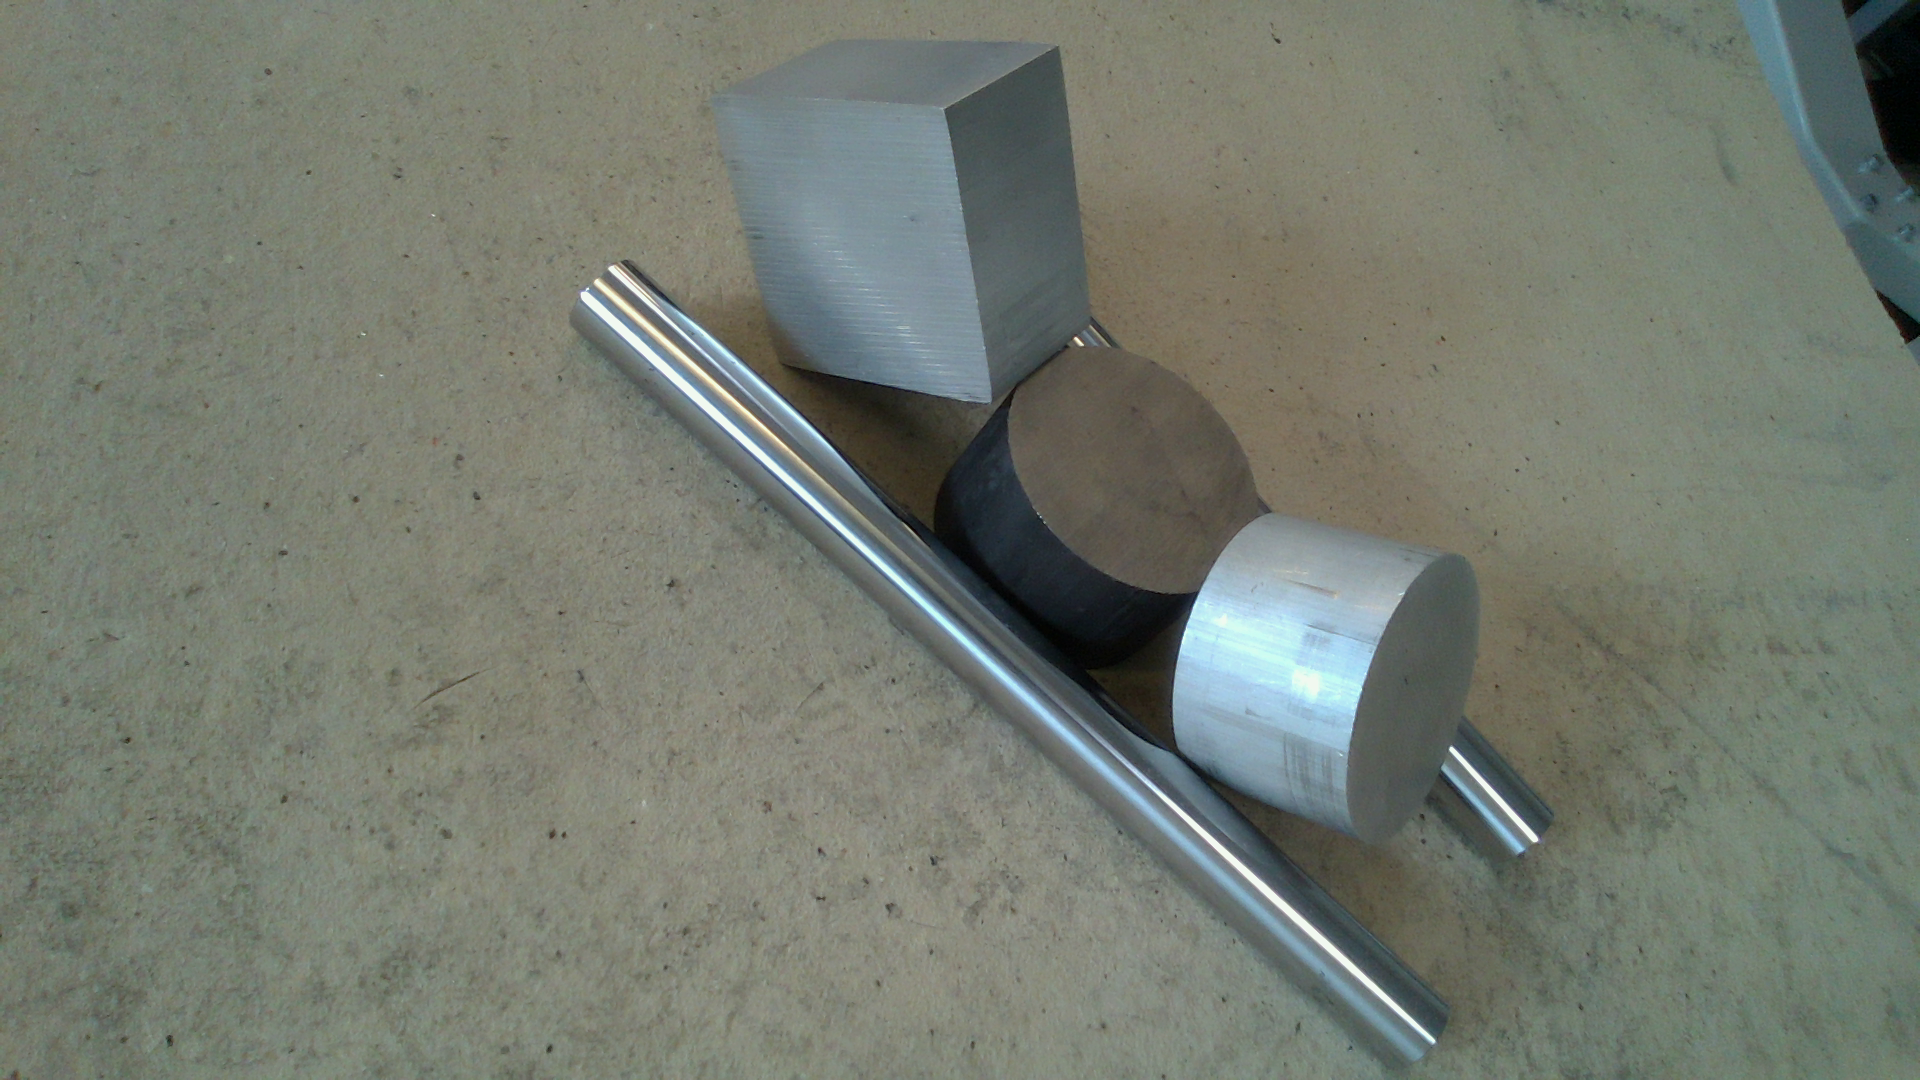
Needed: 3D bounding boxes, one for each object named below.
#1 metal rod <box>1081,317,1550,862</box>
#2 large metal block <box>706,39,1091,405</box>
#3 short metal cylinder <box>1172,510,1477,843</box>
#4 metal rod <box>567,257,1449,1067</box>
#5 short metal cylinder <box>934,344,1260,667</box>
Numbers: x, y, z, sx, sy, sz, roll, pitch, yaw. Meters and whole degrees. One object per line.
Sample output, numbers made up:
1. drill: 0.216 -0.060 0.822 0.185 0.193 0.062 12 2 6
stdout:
1. metal rod: 0.074 -0.020 0.441 0.300 0.025 0.025 48 51 6
2. large metal block: -0.015 -0.091 0.382 0.080 0.080 0.050 15 40 34
3. short metal cylinder: 0.102 0.036 0.379 0.050 0.080 0.080 17 39 37
4. metal rod: 0.012 0.032 0.376 0.300 0.025 0.025 42 51 1
5. short metal cylinder: 0.039 -0.010 0.400 0.080 0.050 0.080 14 56 -21
